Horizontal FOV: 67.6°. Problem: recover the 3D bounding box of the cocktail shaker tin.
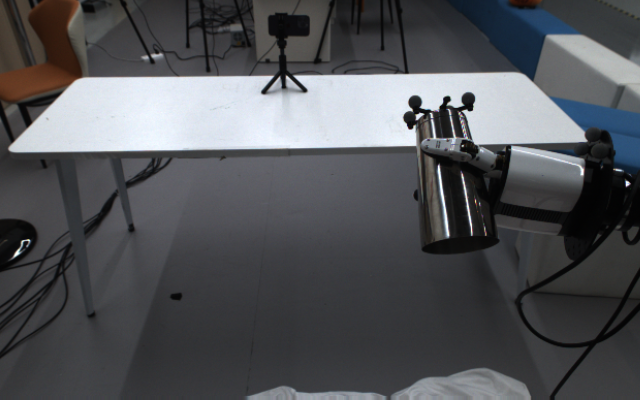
[{"bbox_3d":[0.165,-0.025,0.611,0.093,0.093,0.170,-2,71,-6],"label":"cocktail shaker tin"}]
